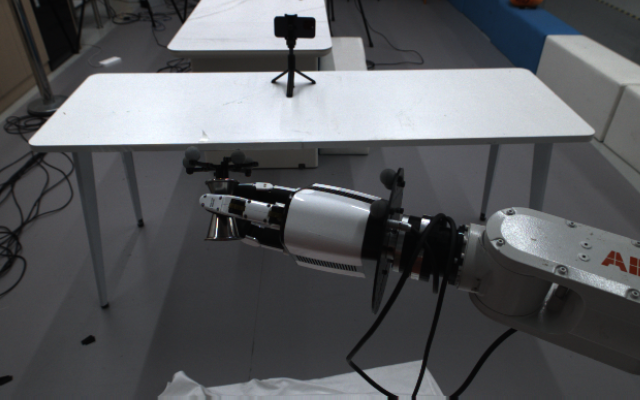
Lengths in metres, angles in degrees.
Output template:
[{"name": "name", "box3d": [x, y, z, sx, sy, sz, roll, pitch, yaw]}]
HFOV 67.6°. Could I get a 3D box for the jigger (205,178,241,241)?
[{"name": "jigger", "box3d": [-0.112, 0.012, 0.559, 0.043, 0.071, 0.043, -2, -7, 0]}]
